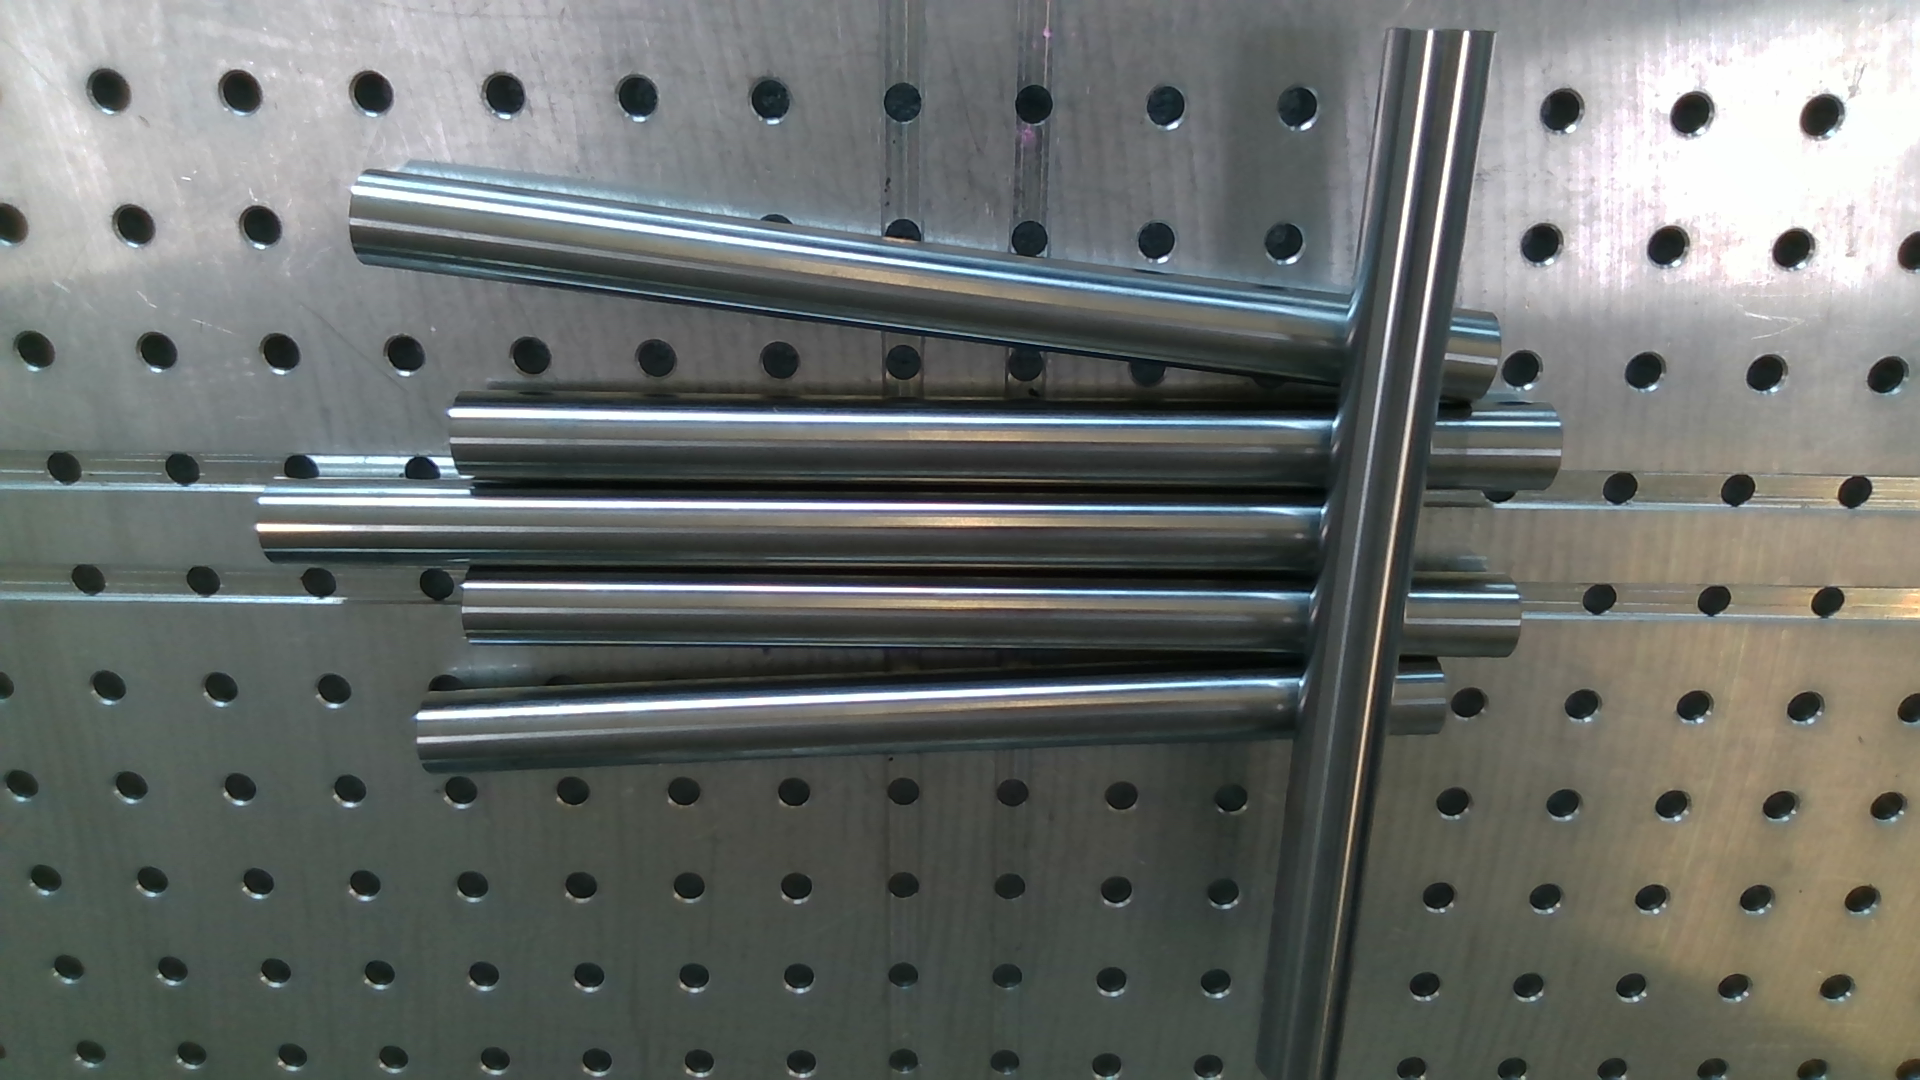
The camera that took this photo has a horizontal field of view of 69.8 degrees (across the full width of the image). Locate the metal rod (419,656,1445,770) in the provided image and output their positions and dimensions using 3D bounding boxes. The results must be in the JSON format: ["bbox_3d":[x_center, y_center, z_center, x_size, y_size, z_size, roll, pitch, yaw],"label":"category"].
[{"bbox_3d":[-0.009,0.051,0.415,0.300,0.025,0.025,-2,110,1],"label":"metal rod"}]

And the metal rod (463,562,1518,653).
[{"bbox_3d":[0.009,0.019,0.404,0.300,0.025,0.025,1,110,0],"label":"metal rod"}]

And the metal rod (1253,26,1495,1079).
[{"bbox_3d":[0.108,0.020,0.376,0.025,0.025,0.301,2,110,-1],"label":"metal rod"}]

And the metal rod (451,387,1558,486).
[{"bbox_3d":[0.012,-0.029,0.385,0.300,0.025,0.025,1,110,0],"label":"metal rod"}]

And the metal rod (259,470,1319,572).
[{"bbox_3d":[-0.044,-0.005,0.393,0.300,0.025,0.025,1,110,0],"label":"metal rod"}]

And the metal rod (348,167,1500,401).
[{"bbox_3d":[-0.007,-0.068,0.369,0.300,0.025,0.025,7,110,-2],"label":"metal rod"}]
